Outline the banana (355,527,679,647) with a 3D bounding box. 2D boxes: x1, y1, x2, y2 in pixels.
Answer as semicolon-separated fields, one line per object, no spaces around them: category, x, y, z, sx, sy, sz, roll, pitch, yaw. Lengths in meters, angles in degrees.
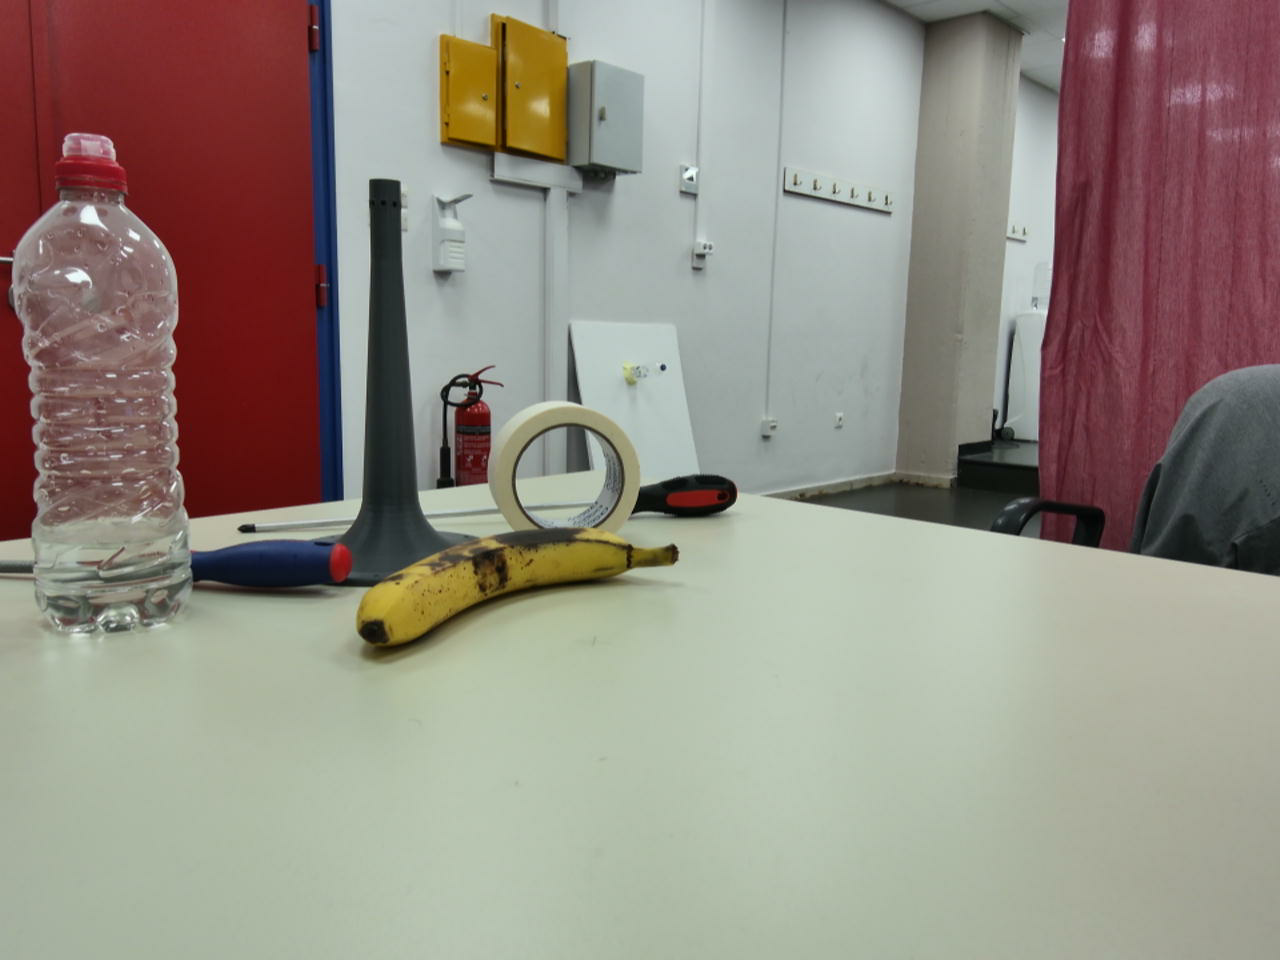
banana;-0.081;0.055;0.576;0.084;0.037;0.222;6;9;42
